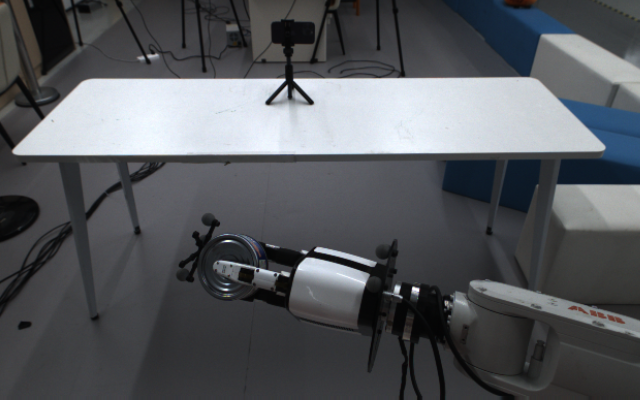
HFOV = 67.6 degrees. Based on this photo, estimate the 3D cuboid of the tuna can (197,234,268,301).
[{"bbox_3d":[-0.108,0.090,0.617,0.085,0.085,0.034,12,-4,14],"label":"tuna can"}]
